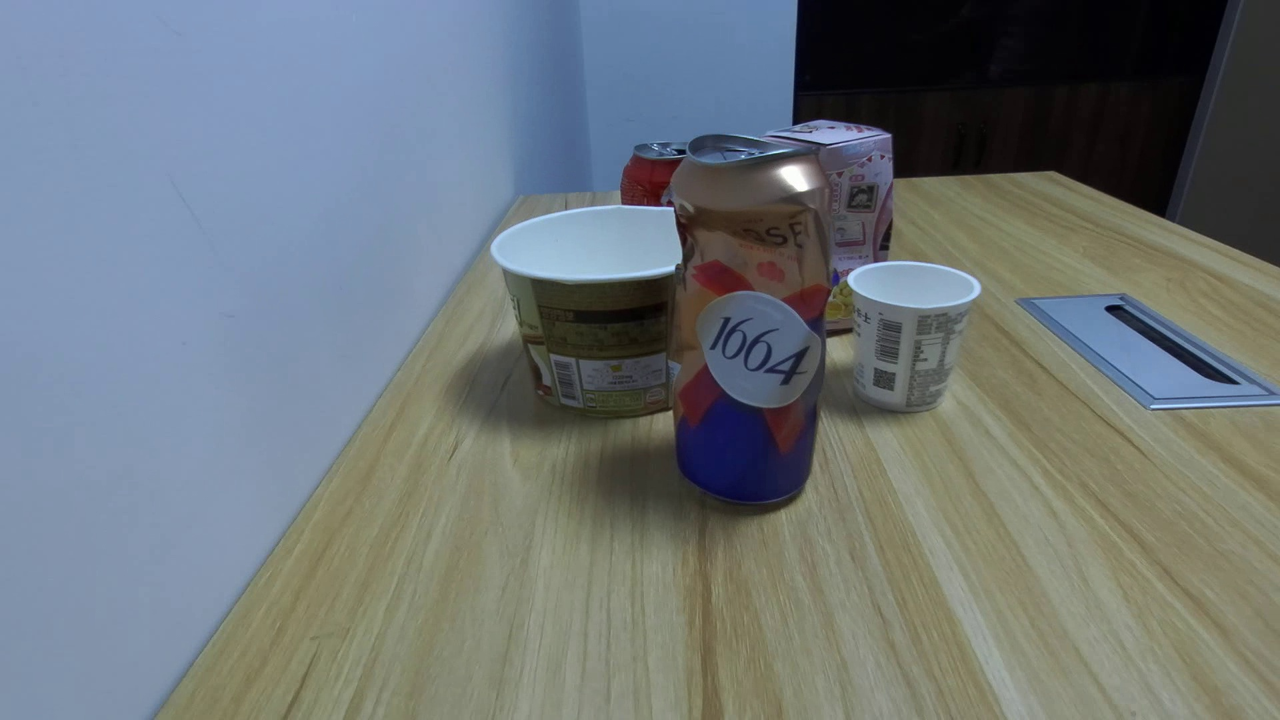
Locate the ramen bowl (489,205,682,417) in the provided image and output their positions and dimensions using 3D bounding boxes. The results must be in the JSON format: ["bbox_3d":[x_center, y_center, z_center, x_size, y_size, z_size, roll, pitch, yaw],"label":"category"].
[{"bbox_3d":[-0.012,-0.032,0.432,0.140,0.095,0.140,-3,26,2],"label":"ramen bowl"}]

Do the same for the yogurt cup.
[{"bbox_3d":[0.152,-0.013,0.404,0.072,0.068,0.072,-3,28,2],"label":"yogurt cup"}]

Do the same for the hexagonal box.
[{"bbox_3d":[0.124,-0.090,0.490,0.093,0.135,0.088,-14,29,-22],"label":"hexagonal box"}]

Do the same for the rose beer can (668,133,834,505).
[{"bbox_3d":[0.049,-0.013,0.319,0.073,0.162,0.068,4,23,8],"label":"rose beer can"}]
